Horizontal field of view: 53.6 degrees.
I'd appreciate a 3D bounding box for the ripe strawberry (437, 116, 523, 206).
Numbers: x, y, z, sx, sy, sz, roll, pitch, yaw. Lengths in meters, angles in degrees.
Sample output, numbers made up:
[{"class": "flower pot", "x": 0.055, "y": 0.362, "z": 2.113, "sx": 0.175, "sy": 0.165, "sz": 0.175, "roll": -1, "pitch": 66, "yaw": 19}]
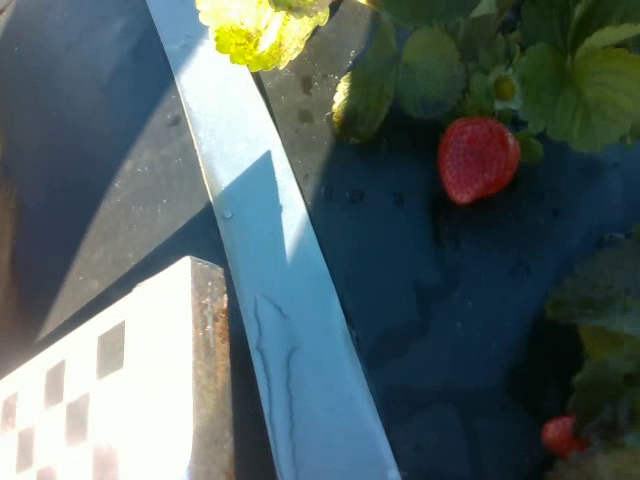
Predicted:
[{"class": "ripe strawberry", "x": 0.075, "y": -0.036, "z": 0.300, "sx": 0.045, "sy": 0.059, "sz": 0.042, "roll": 0, "pitch": -36, "yaw": 45}]
